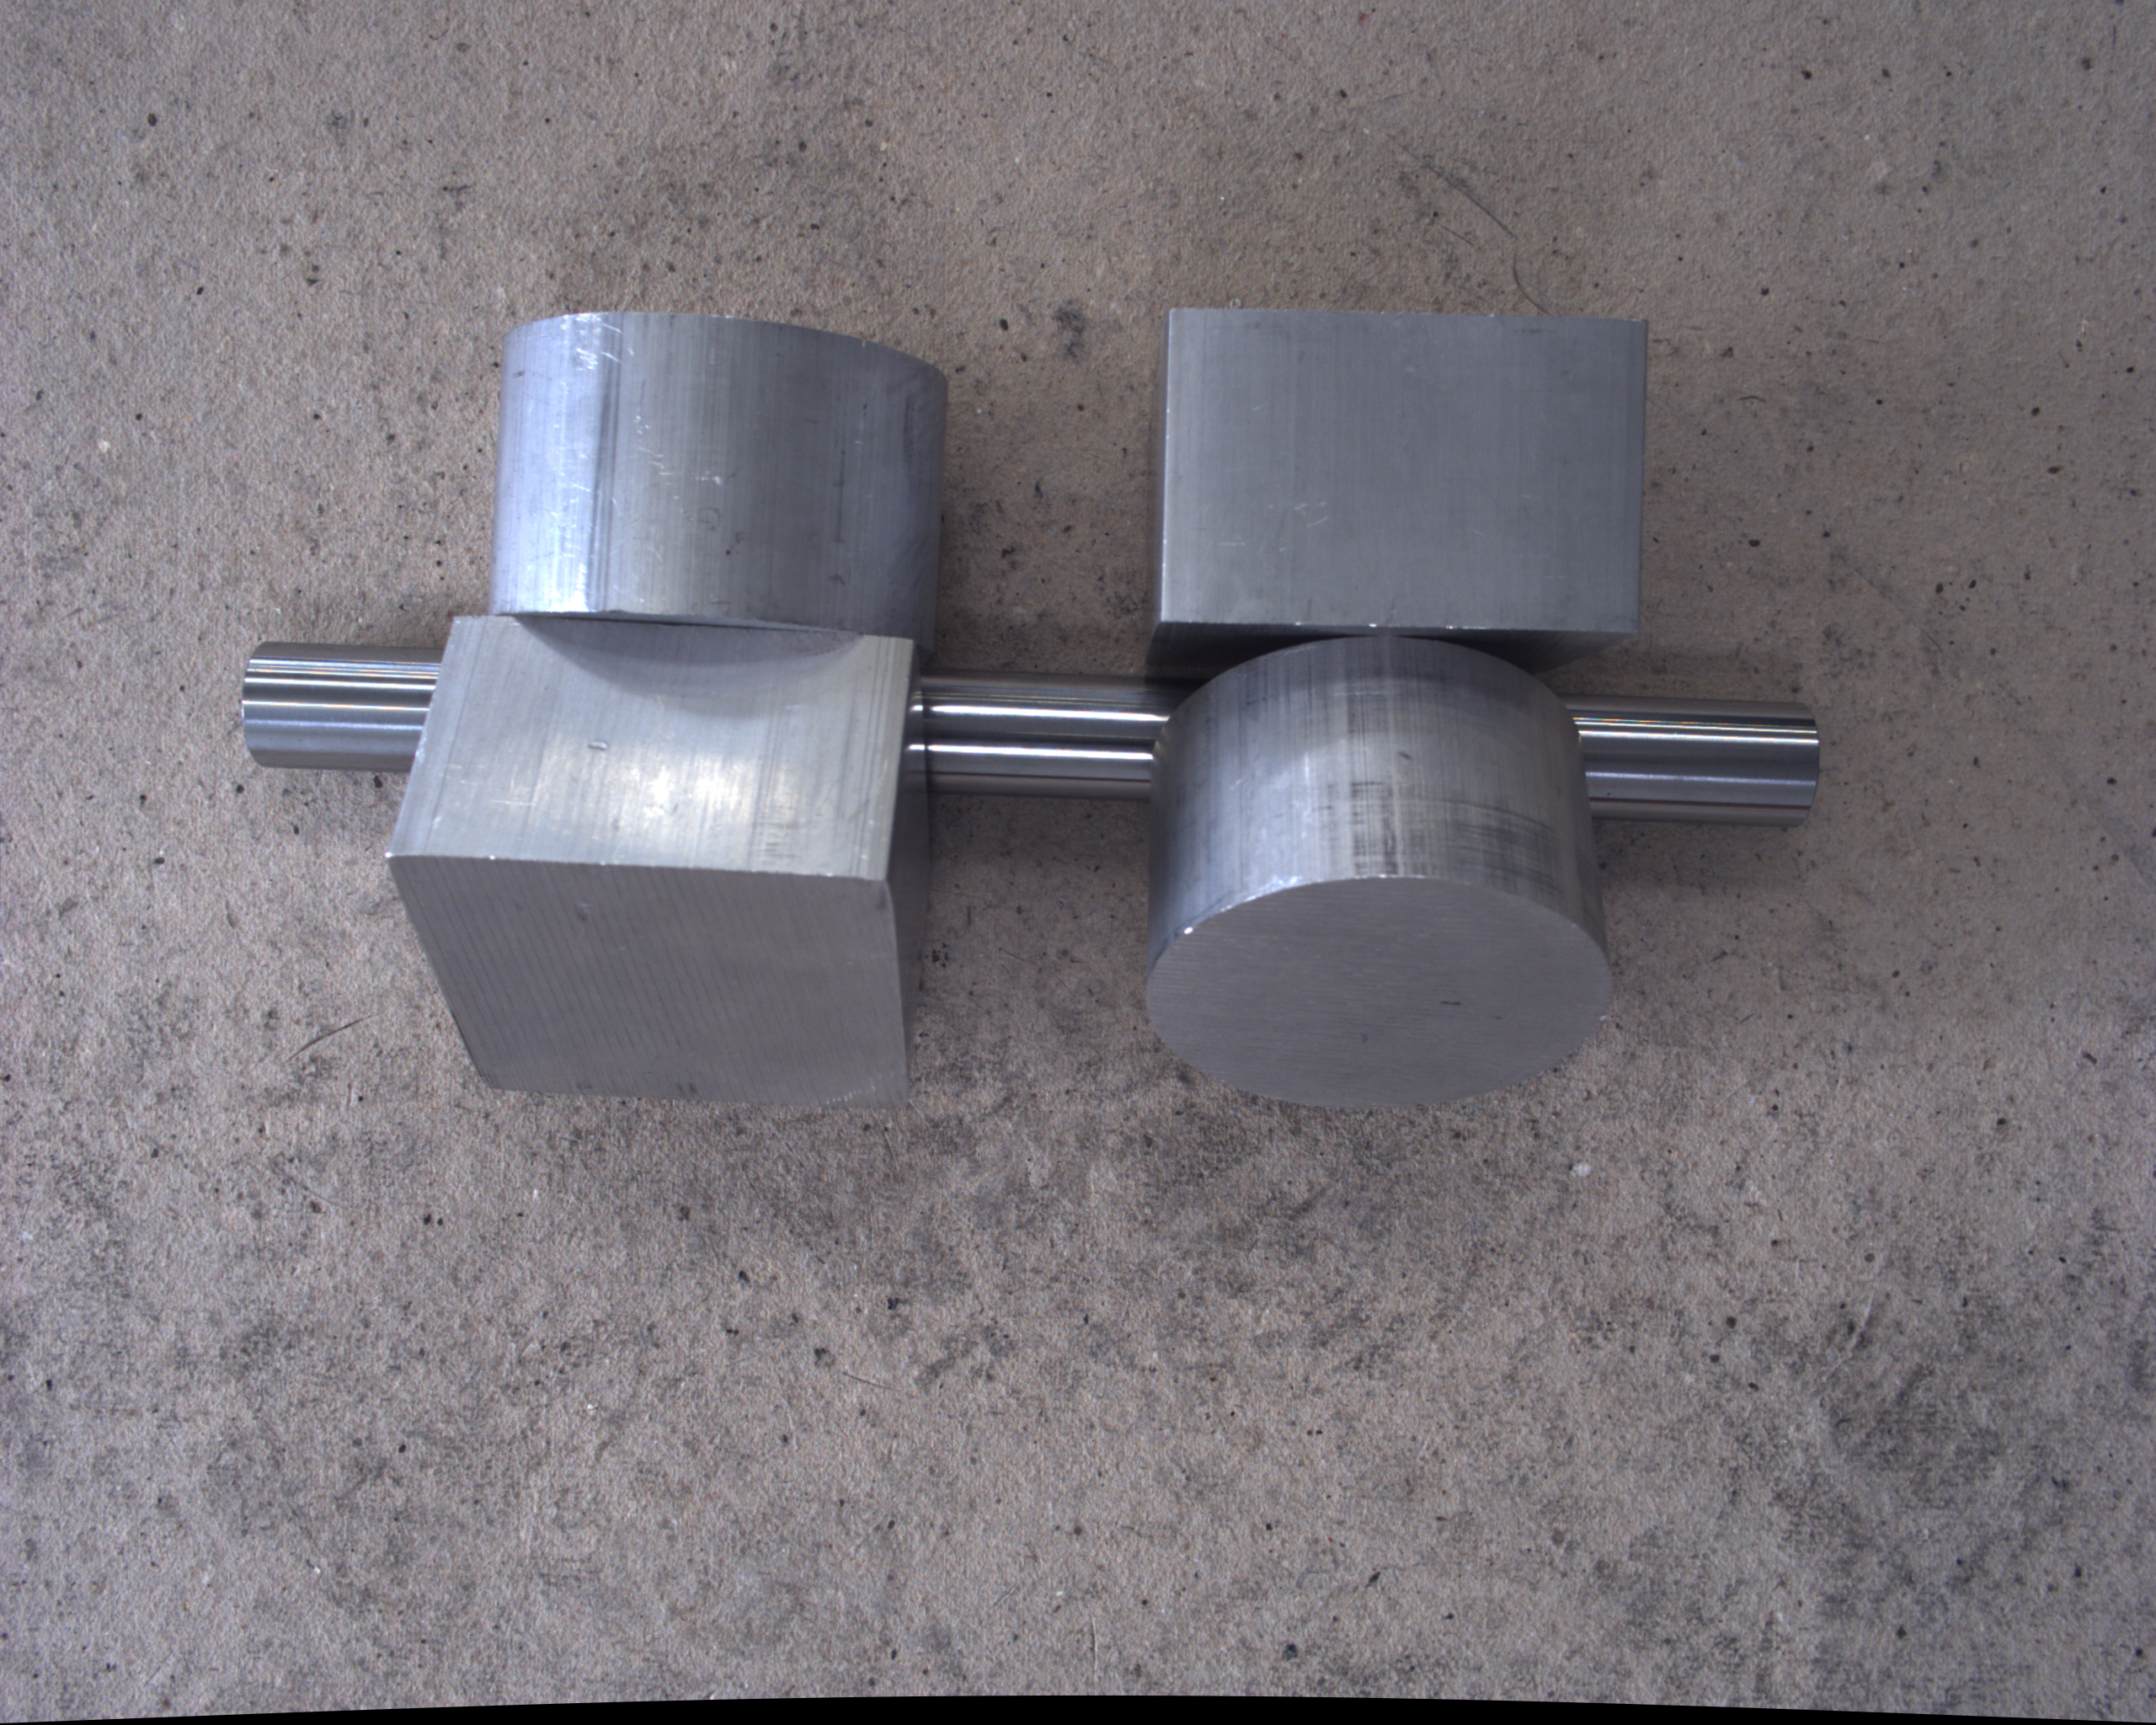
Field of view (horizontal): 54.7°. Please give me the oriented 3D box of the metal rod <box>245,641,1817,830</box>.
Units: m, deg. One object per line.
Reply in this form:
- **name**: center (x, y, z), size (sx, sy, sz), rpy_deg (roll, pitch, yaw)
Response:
- **metal rod**: center (-0.008, -0.025, 0.413), size (0.302, 0.025, 0.025), rpy_deg (2, 90, -1)

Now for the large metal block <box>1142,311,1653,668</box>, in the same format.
- **large metal block**: center (0.054, -0.065, 0.384), size (0.081, 0.080, 0.050), rpy_deg (1, 90, 0)

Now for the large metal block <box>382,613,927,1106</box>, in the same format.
- **large metal block**: center (-0.070, 0.002, 0.377), size (0.081, 0.080, 0.050), rpy_deg (3, 56, -1)

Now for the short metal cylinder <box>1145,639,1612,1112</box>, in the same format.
- **short metal cylinder**: center (0.053, 0.004, 0.378), size (0.081, 0.080, 0.050), rpy_deg (2, 55, 0)

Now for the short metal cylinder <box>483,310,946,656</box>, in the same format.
- **short metal cylinder**: center (-0.066, -0.066, 0.383), size (0.080, 0.080, 0.050), rpy_deg (3, 90, 0)
